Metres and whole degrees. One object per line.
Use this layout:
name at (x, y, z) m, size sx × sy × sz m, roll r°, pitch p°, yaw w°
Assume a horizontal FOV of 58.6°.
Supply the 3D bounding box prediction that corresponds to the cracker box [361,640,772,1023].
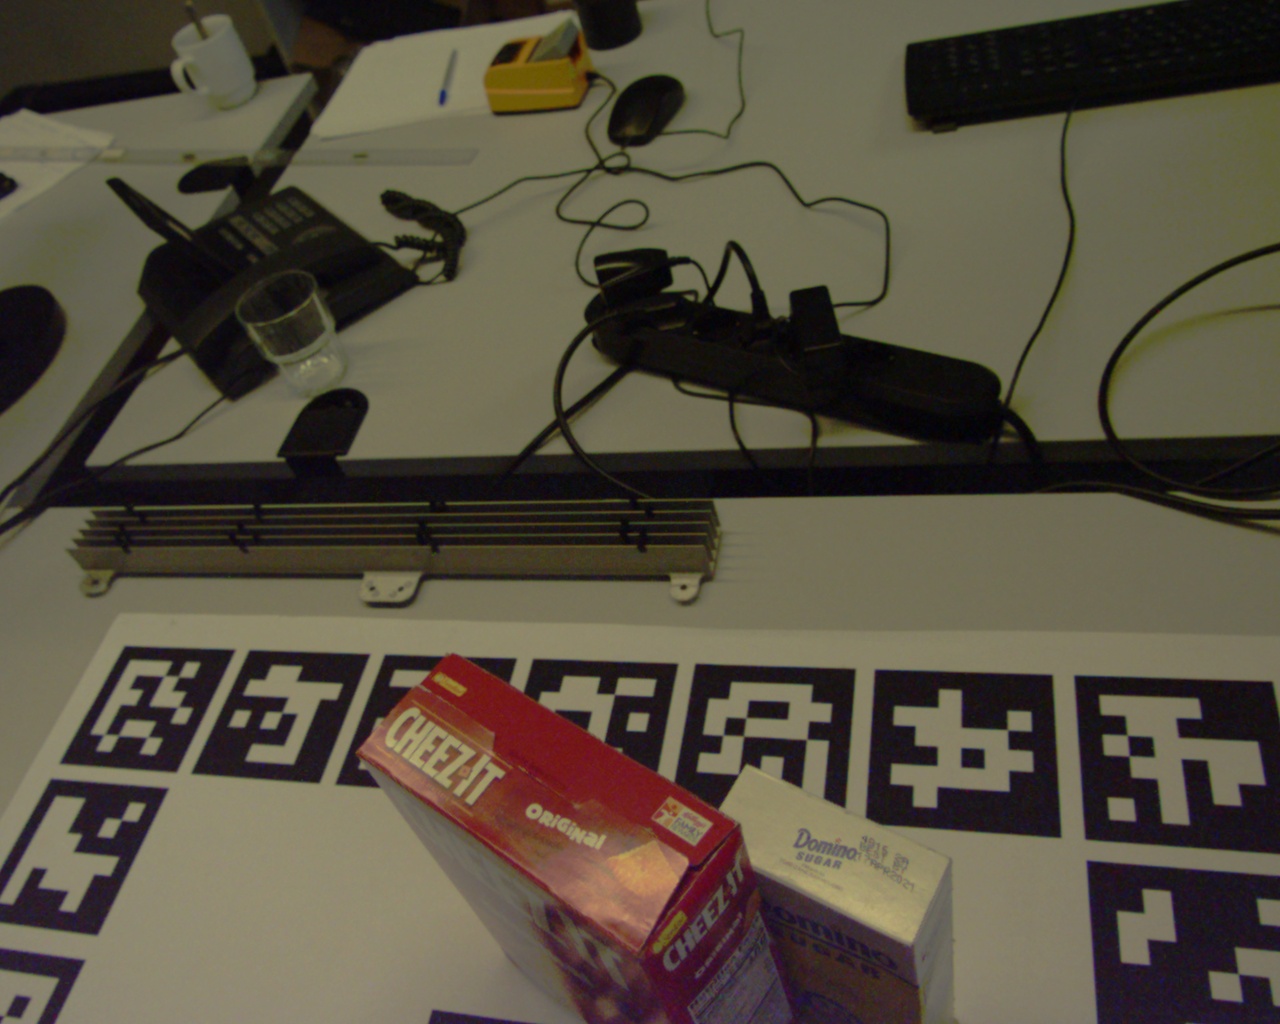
cracker box at (-0.031, 0.182, 0.558) m, size 0.166 × 0.212 × 0.071 m, roll 26°, pitch 59°, yaw 34°

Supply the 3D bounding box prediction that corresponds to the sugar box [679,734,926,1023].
sugar box at (0.081, 0.183, 0.543) m, size 0.094 × 0.175 × 0.045 m, roll 18°, pitch 56°, yaw 31°
